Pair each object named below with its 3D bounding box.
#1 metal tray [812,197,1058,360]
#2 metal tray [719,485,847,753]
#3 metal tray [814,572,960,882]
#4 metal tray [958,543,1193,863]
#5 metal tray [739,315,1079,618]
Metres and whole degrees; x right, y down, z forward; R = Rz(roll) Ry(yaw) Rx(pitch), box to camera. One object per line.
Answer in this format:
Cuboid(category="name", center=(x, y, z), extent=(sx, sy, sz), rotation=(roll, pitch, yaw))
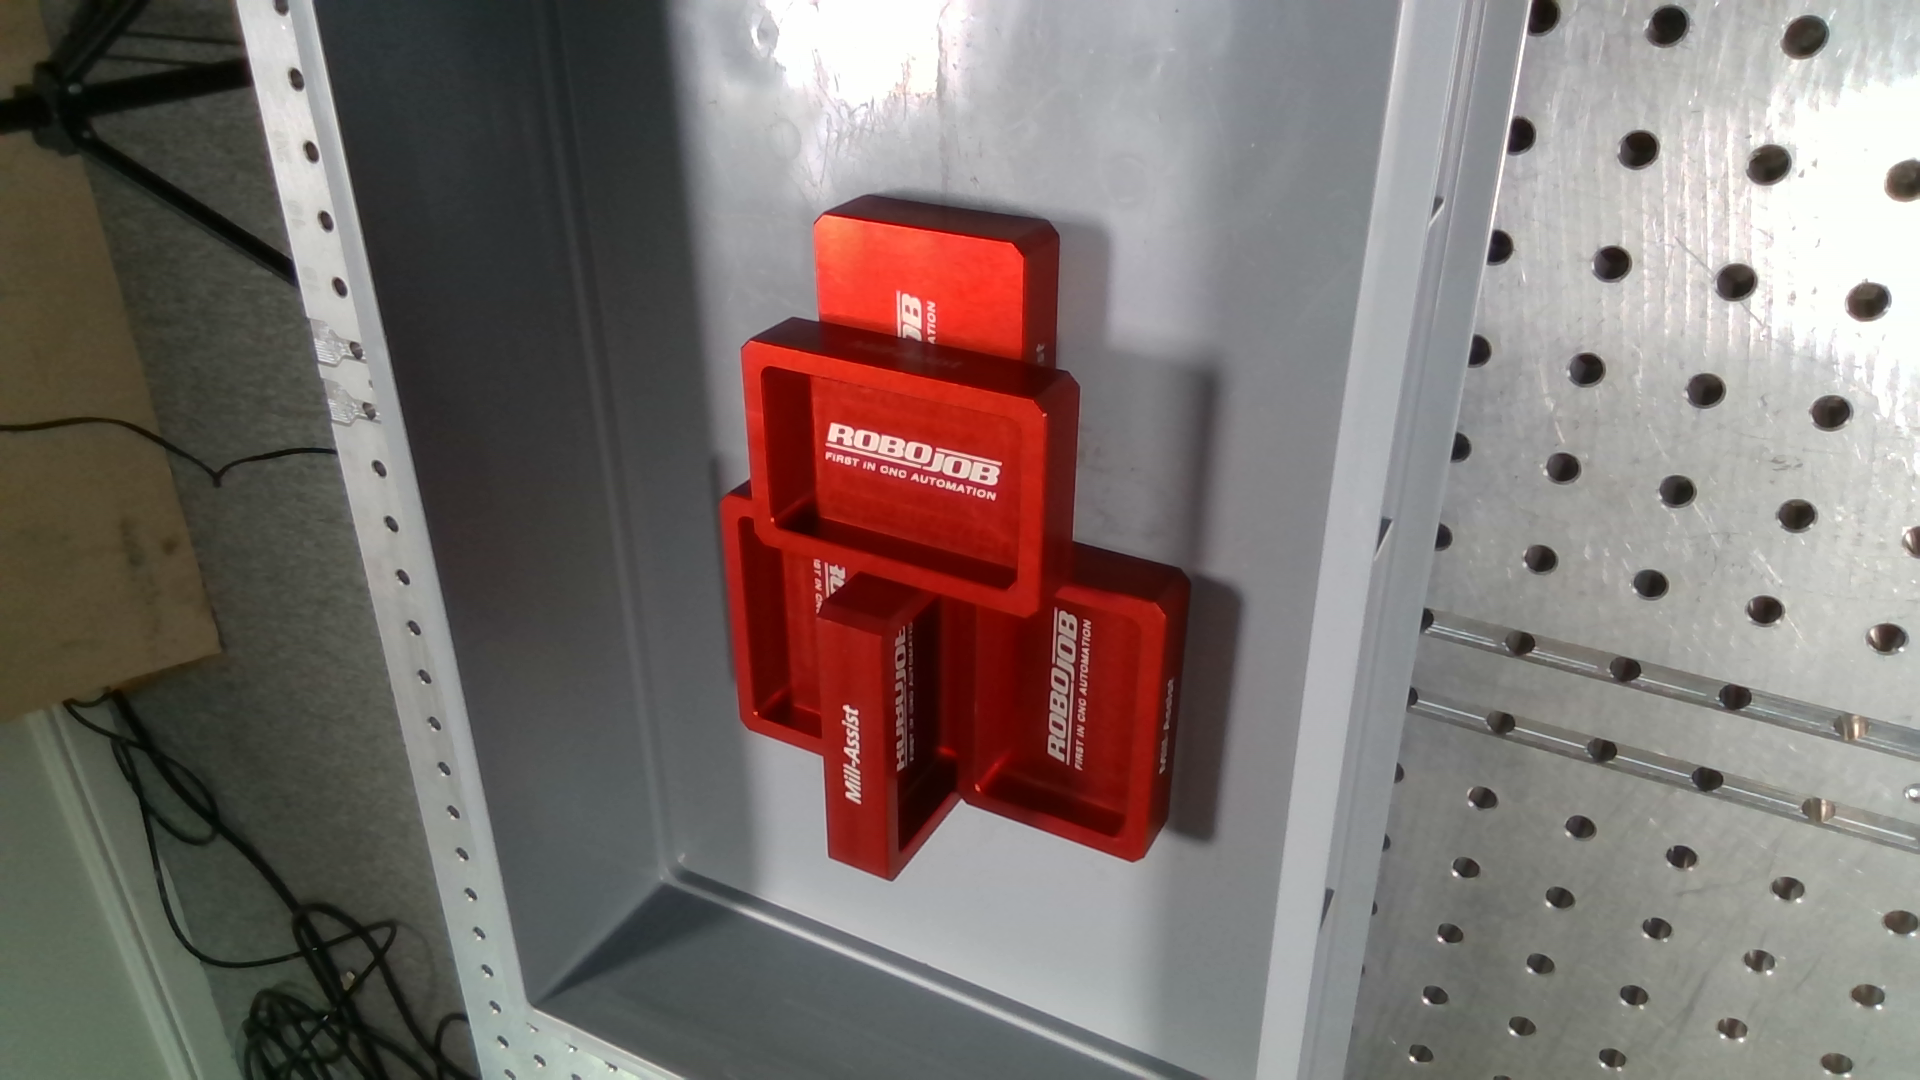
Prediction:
Cuboid(category="metal tray", center=(-0.010, -0.063, 0.544), extent=(0.090, 0.030, 0.130), rotation=(14, 122, 25))
Cuboid(category="metal tray", center=(-0.061, 0.039, 0.634), extent=(0.090, 0.030, 0.130), rotation=(15, 122, 24))
Cuboid(category="metal tray", center=(-0.022, 0.067, 0.586), extent=(0.030, 0.090, 0.130), rotation=(15, 122, 24))
Cuboid(category="metal tray", center=(0.046, 0.066, 0.583), extent=(0.090, 0.030, 0.130), rotation=(15, 122, 24))
Cuboid(category="metal tray", center=(-0.022, -0.030, 0.532), extent=(0.130, 0.030, 0.090), rotation=(15, 122, 24))
